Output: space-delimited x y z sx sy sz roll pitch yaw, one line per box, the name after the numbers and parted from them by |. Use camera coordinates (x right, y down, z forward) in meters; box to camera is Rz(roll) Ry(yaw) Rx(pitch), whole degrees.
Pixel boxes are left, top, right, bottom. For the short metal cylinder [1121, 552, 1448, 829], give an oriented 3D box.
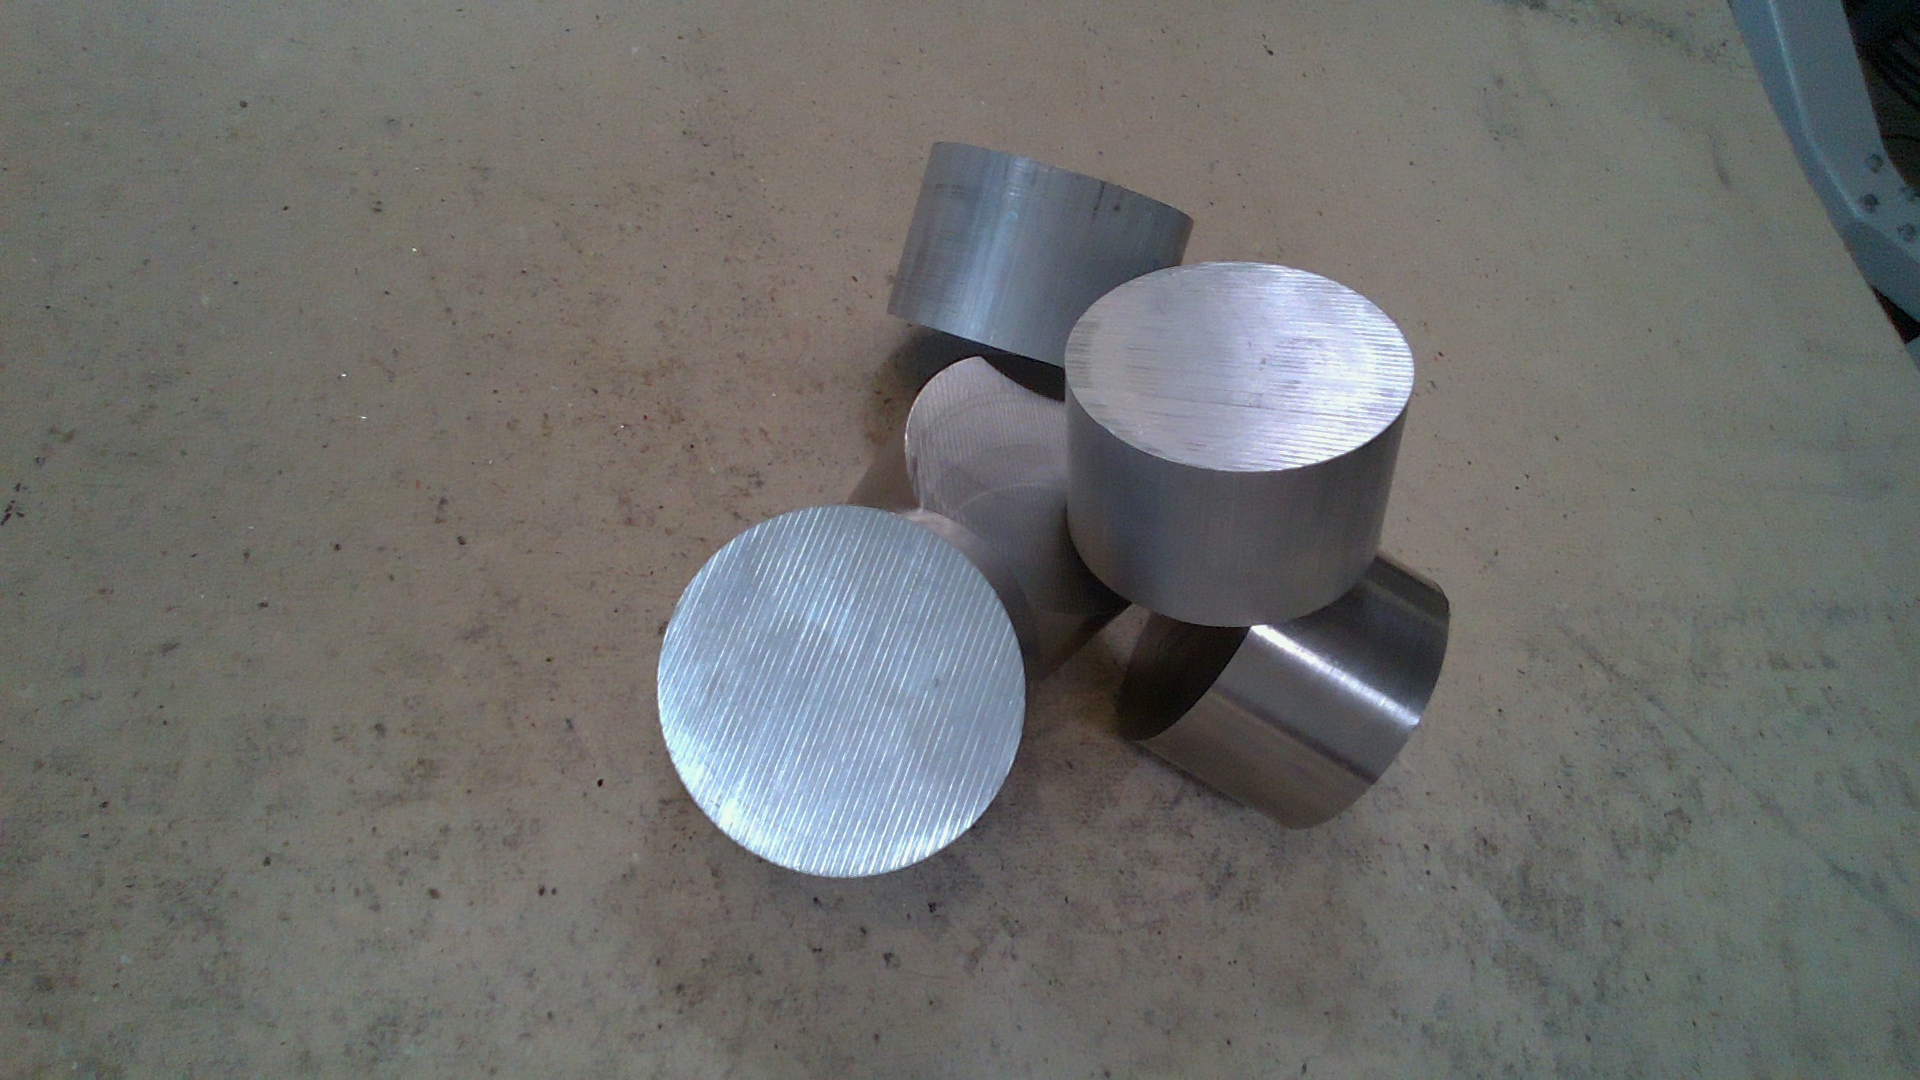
0.088 0.032 0.382 0.050 0.080 0.080 30 52 -9 | short metal cylinder

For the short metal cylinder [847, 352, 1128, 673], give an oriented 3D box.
0.012 -0.005 0.383 0.080 0.050 0.080 14 55 -21 | short metal cylinder

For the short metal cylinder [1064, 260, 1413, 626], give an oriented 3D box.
0.066 -0.025 0.339 0.080 0.050 0.080 -2 45 2 | short metal cylinder

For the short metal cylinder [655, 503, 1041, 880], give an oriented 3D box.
-0.023 0.031 0.316 0.080 0.050 0.080 0 91 6 | short metal cylinder

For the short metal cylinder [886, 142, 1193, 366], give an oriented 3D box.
0.023 -0.081 0.408 0.080 0.080 0.050 13 100 -21 | short metal cylinder
